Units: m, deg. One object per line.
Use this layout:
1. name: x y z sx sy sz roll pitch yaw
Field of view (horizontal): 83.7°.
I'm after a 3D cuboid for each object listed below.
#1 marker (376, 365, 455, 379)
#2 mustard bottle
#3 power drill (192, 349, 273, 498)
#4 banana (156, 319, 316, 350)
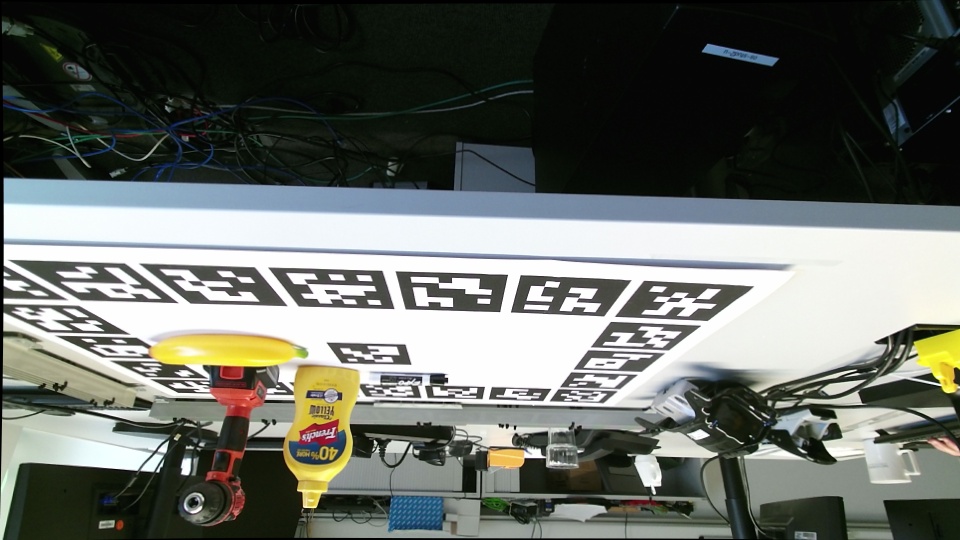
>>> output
1. marker: -0.101 0.161 0.843 0.121 0.019 0.020 3 150 -4
2. mustard bottle: -0.228 0.227 0.789 0.096 0.190 0.058 8 150 -11
3. power drill: -0.331 0.207 0.721 0.057 0.186 0.185 10 152 -13
4. banana: -0.316 0.081 0.690 0.198 0.038 0.074 4 149 -10
